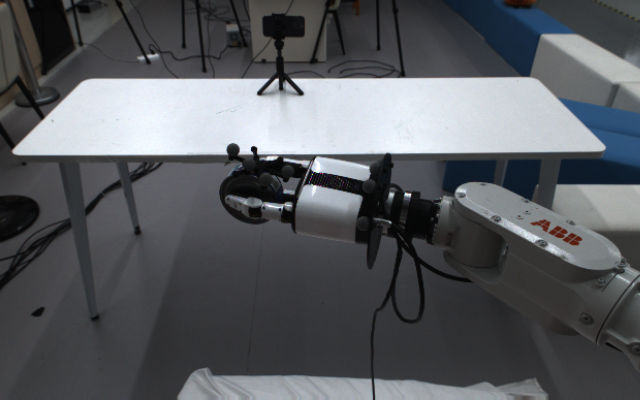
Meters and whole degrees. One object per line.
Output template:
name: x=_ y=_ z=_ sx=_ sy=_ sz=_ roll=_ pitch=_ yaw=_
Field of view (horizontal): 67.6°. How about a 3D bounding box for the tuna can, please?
tuna can: x=-0.096 y=-0.008 z=0.688 sx=0.085 sy=0.085 sz=0.034 roll=9 pitch=35 yaw=10
